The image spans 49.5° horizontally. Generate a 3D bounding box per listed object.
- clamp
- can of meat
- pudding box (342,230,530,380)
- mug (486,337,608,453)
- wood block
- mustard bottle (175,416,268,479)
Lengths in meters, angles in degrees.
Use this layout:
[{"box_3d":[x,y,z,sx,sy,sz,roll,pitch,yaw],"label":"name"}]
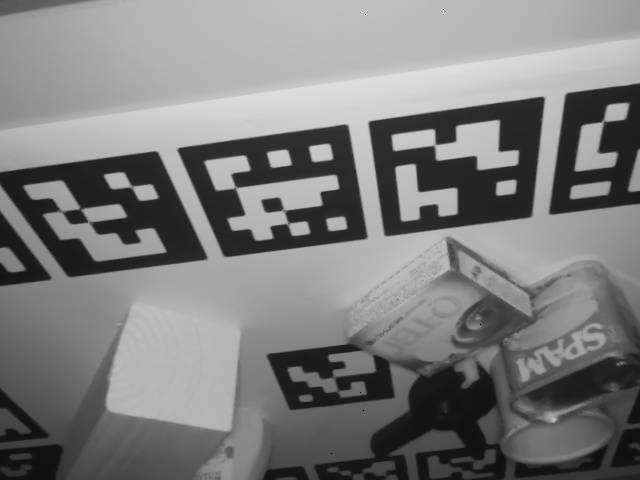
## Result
[{"box_3d":[0.114,0.169,0.652,0.122,0.037,0.163,8,131,-8],"label":"clamp"},{"box_3d":[0.187,0.077,0.523,0.100,0.084,0.058,-30,126,24],"label":"can of meat"},{"box_3d":[0.087,0.053,0.533,0.090,0.039,0.112,33,126,-28],"label":"pudding box"},{"box_3d":[0.190,0.135,0.617,0.094,0.082,0.115,10,131,-11],"label":"mug"},{"box_3d":[-0.153,0.143,0.576,0.091,0.091,0.203,21,131,-23],"label":"wood block"},{"box_3d":[-0.097,0.251,0.604,0.096,0.193,0.058,-10,132,7],"label":"mustard bottle"}]
